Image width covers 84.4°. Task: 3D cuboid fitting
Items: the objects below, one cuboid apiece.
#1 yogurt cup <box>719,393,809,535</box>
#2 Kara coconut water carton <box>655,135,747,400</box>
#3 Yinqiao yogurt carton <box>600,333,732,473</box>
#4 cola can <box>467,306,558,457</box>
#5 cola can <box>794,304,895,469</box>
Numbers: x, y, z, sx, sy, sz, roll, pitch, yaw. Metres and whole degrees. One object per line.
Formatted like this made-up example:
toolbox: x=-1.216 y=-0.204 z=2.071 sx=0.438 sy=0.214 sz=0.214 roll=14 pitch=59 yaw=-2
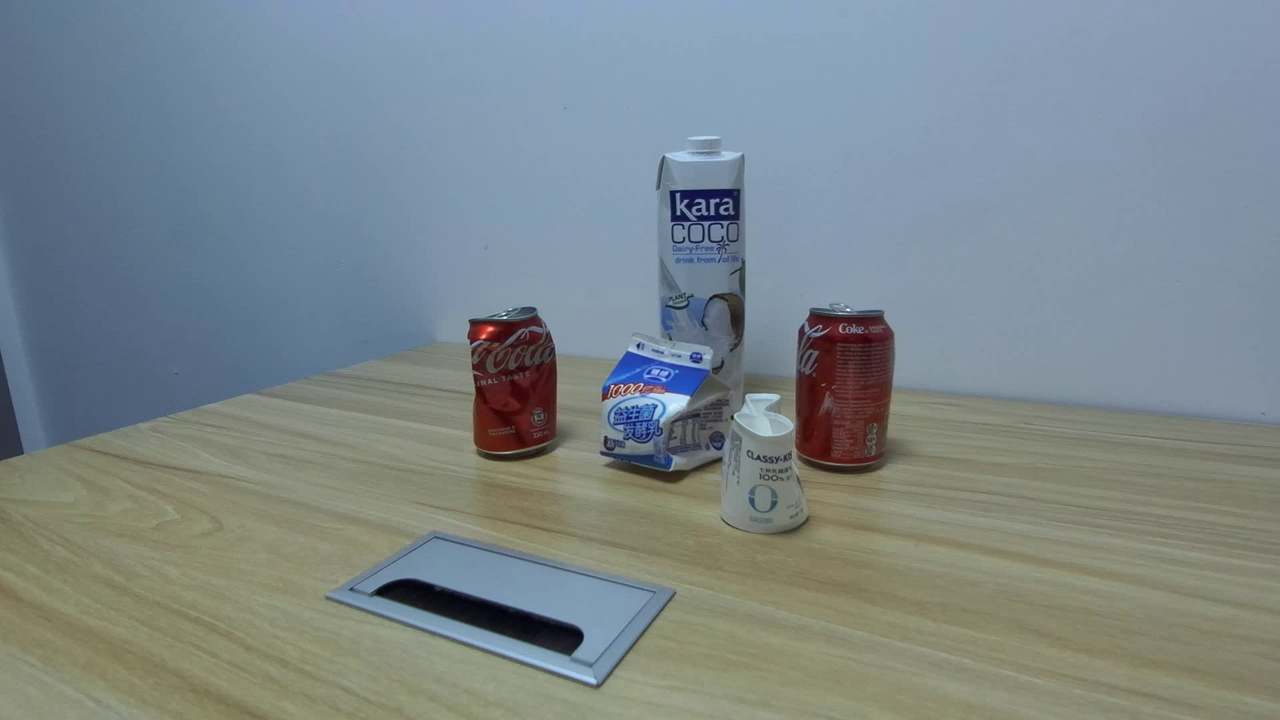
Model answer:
yogurt cup: x=0.077 y=0.063 z=0.435 sx=0.054 sy=0.071 sz=0.075 roll=-5 pitch=14 yaw=-18
Kara coconut water carton: x=0.056 y=-0.072 z=0.636 sx=0.077 sy=0.245 sz=0.075 roll=-1 pitch=12 yaw=1
Yinqiao yogurt carton: x=0.019 y=0.030 z=0.525 sx=0.074 sy=0.097 sz=0.080 roll=8 pitch=9 yaw=32
cola can: x=-0.101 y=0.016 z=0.564 sx=0.069 sy=0.112 sz=0.065 roll=-6 pitch=15 yaw=-20
cola can: x=0.148 y=0.019 z=0.524 sx=0.072 sy=0.117 sz=0.065 roll=5 pitch=15 yaw=23
